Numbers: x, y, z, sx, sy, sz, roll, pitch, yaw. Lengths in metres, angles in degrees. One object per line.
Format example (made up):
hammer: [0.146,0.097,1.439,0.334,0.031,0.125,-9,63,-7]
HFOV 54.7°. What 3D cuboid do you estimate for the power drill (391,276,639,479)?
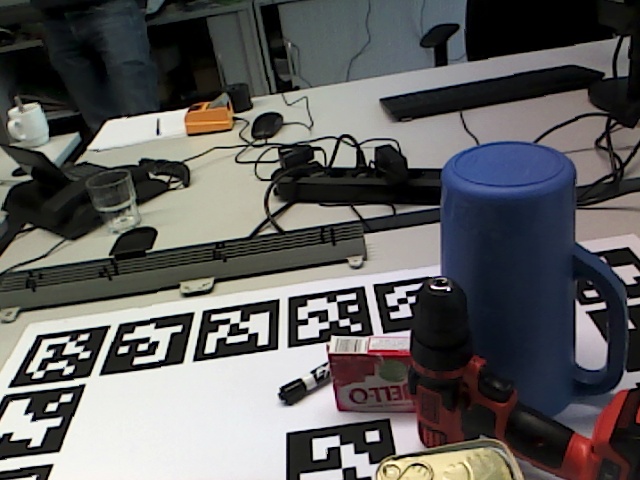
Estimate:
power drill: [0.145,0.122,0.497,0.188,0.184,0.057,17,43,28]

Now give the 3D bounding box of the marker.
marker: [0.002,0.132,0.677,0.121,0.019,0.020,-24,34,-19]

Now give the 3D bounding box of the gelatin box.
gelatin box: [0.054,0.132,0.615,0.089,0.073,0.030,-2,36,11]

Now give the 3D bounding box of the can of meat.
can of meat: [0.088,0.205,0.469,0.102,0.083,0.058,-9,29,2]

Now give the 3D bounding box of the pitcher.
pitcher: [0.184,0.042,0.571,0.190,0.241,0.133,4,37,34]
